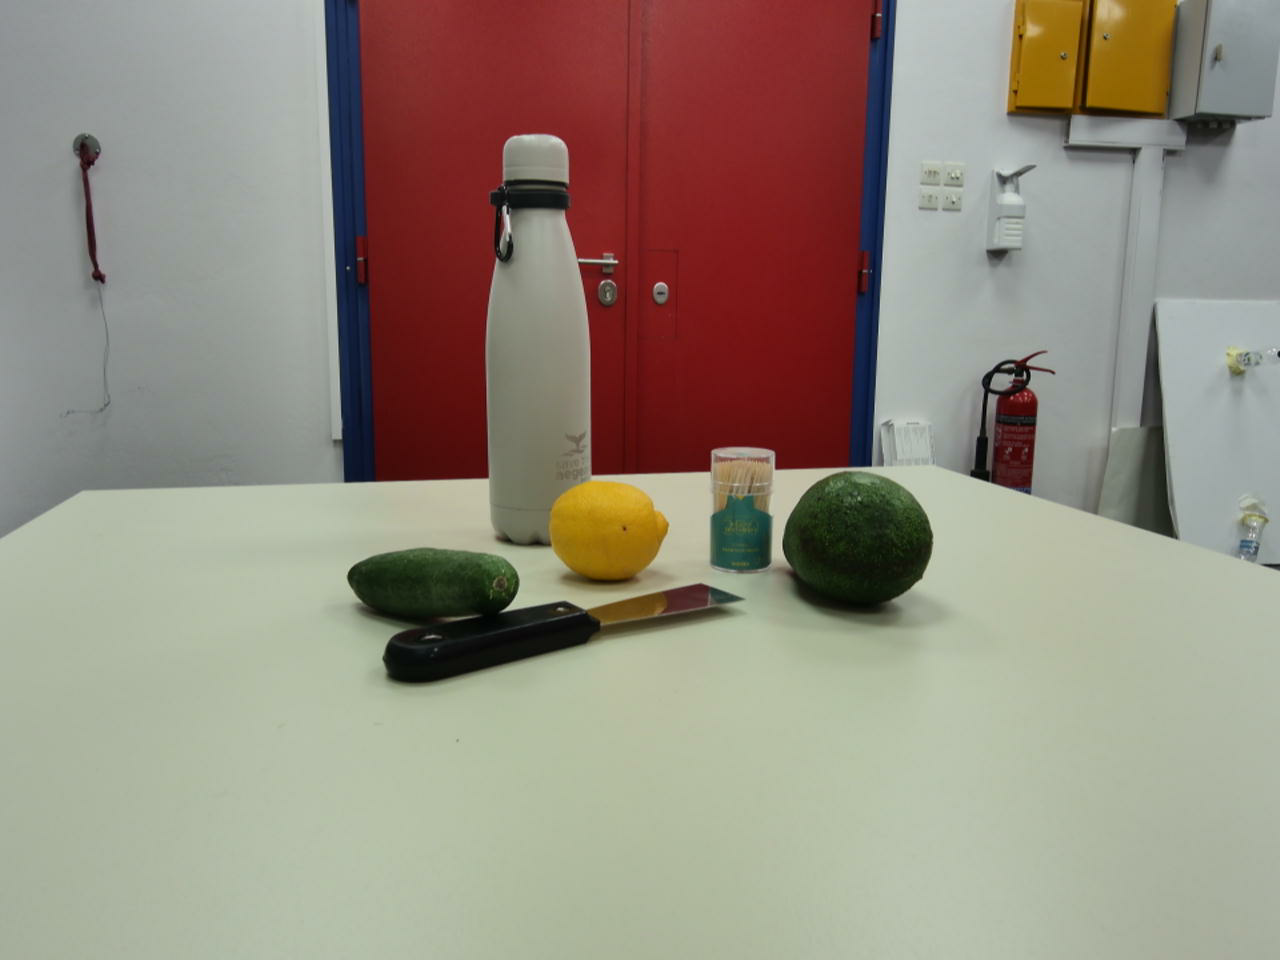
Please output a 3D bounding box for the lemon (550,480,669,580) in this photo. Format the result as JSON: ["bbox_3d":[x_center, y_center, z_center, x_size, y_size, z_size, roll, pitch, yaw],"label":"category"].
[{"bbox_3d":[-0.020,0.031,0.600,0.067,0.059,0.060,5,9,29],"label":"lemon"}]
